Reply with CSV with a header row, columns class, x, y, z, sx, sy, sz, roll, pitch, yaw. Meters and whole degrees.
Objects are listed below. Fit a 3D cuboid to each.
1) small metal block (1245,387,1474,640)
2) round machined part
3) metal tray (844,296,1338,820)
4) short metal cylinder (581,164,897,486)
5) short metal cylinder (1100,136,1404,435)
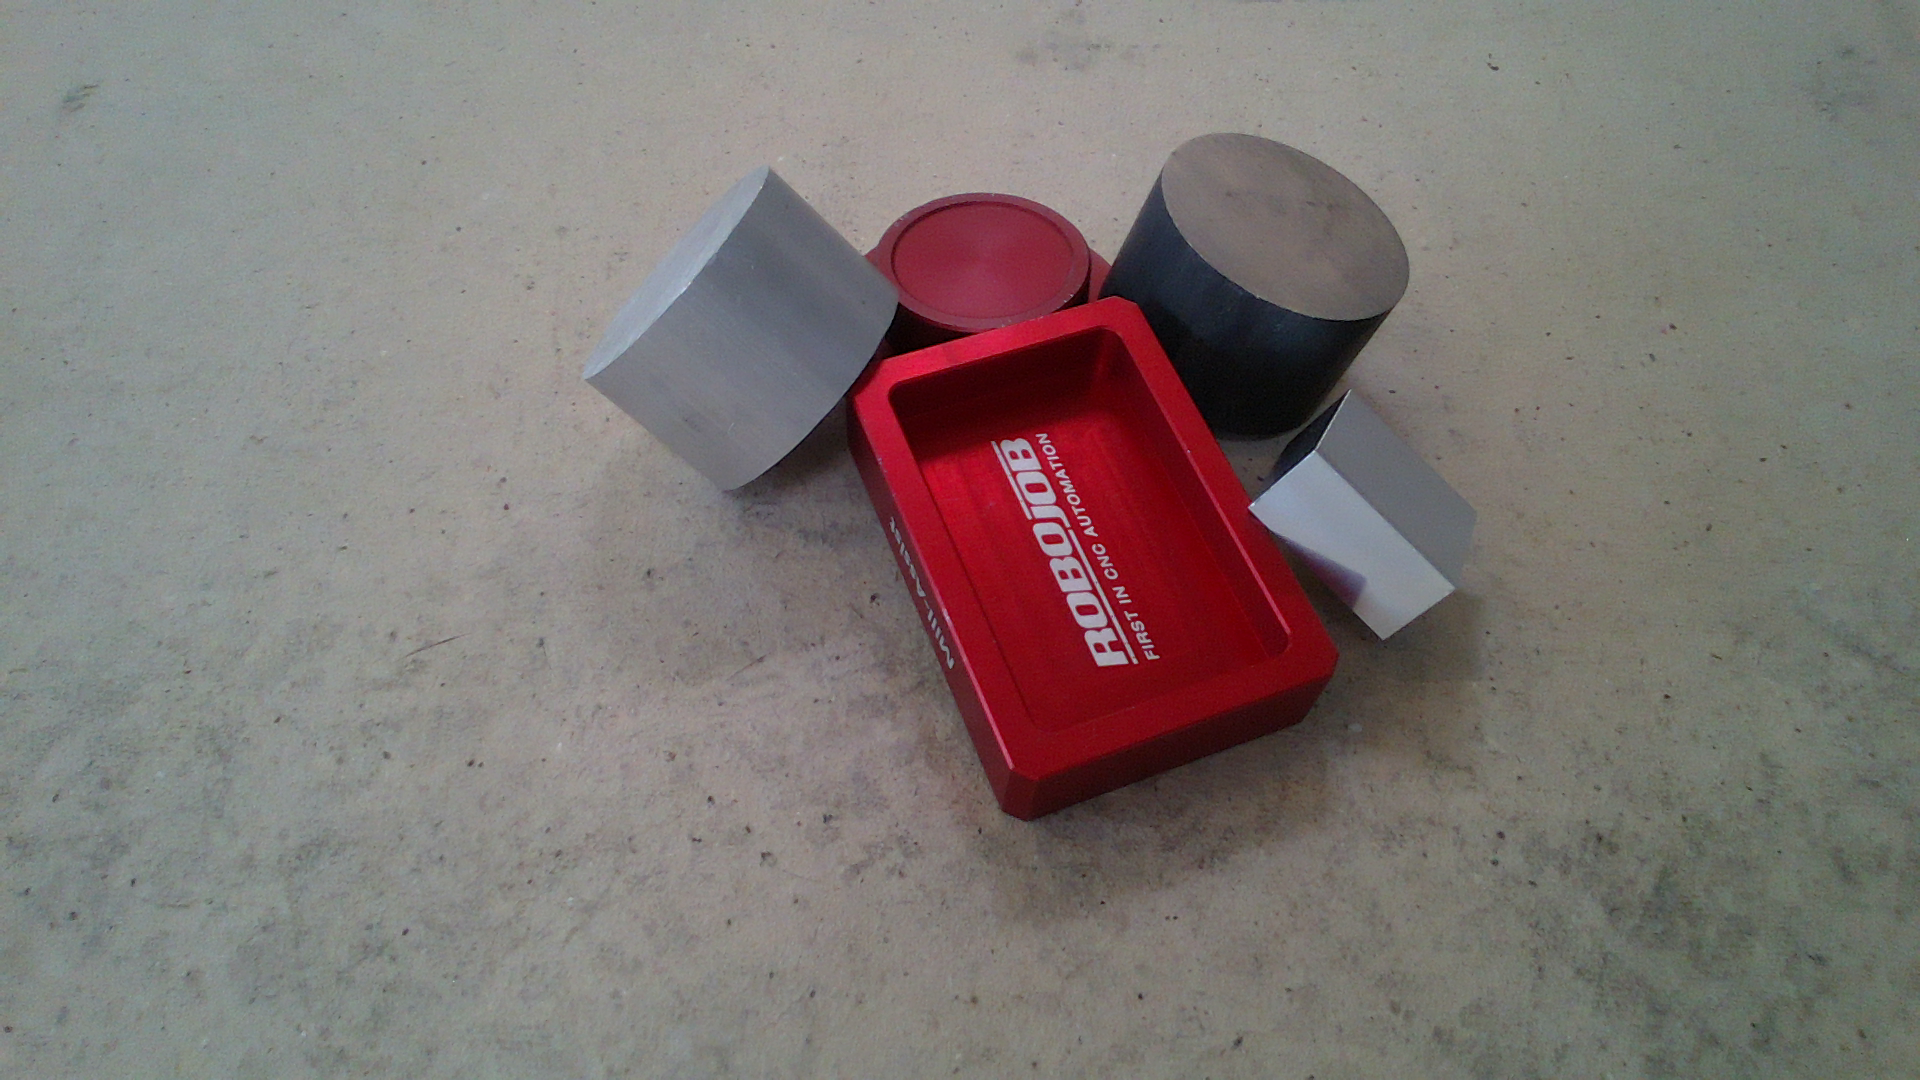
class,x,y,z,sx,sy,sz,roll,pitch,yaw
small metal block,0.110,-0.009,0.376,0.050,0.025,0.050,45,34,1
round machined part,0.007,-0.075,0.445,0.098,0.042,0.098,0,50,0
metal tray,0.030,0.000,0.374,0.090,0.030,0.130,-17,61,-14
short metal cylinder,-0.064,-0.062,0.400,0.050,0.080,0.080,41,48,-23
short metal cylinder,0.089,-0.080,0.429,0.080,0.050,0.080,11,50,-14
